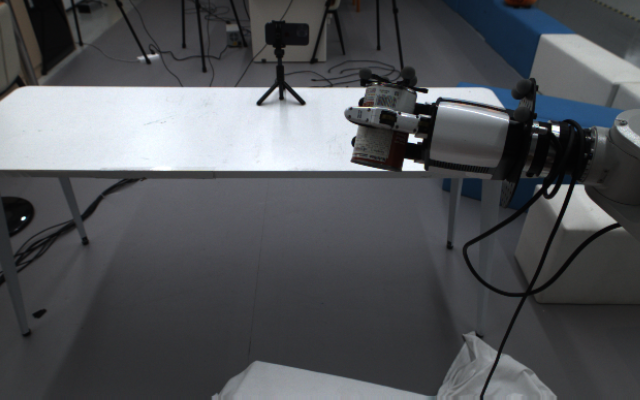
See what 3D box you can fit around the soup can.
[{"bbox_3d":[0.083,-0.093,0.625,0.067,0.101,0.067,12,2,0],"label":"soup can"}]
